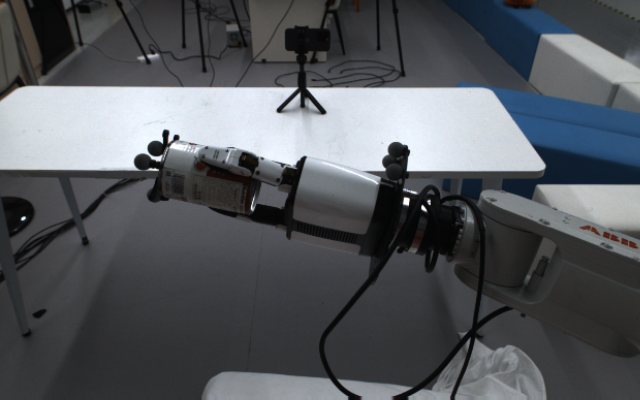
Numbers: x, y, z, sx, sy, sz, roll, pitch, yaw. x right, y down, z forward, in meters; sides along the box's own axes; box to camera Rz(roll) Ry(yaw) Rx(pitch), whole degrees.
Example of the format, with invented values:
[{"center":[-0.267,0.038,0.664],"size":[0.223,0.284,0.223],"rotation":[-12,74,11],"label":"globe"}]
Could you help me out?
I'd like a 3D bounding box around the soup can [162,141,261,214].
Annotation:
[{"center":[-0.117,-0.025,0.543],"size":[0.101,0.067,0.067],"rotation":[12,35,-1],"label":"soup can"}]
